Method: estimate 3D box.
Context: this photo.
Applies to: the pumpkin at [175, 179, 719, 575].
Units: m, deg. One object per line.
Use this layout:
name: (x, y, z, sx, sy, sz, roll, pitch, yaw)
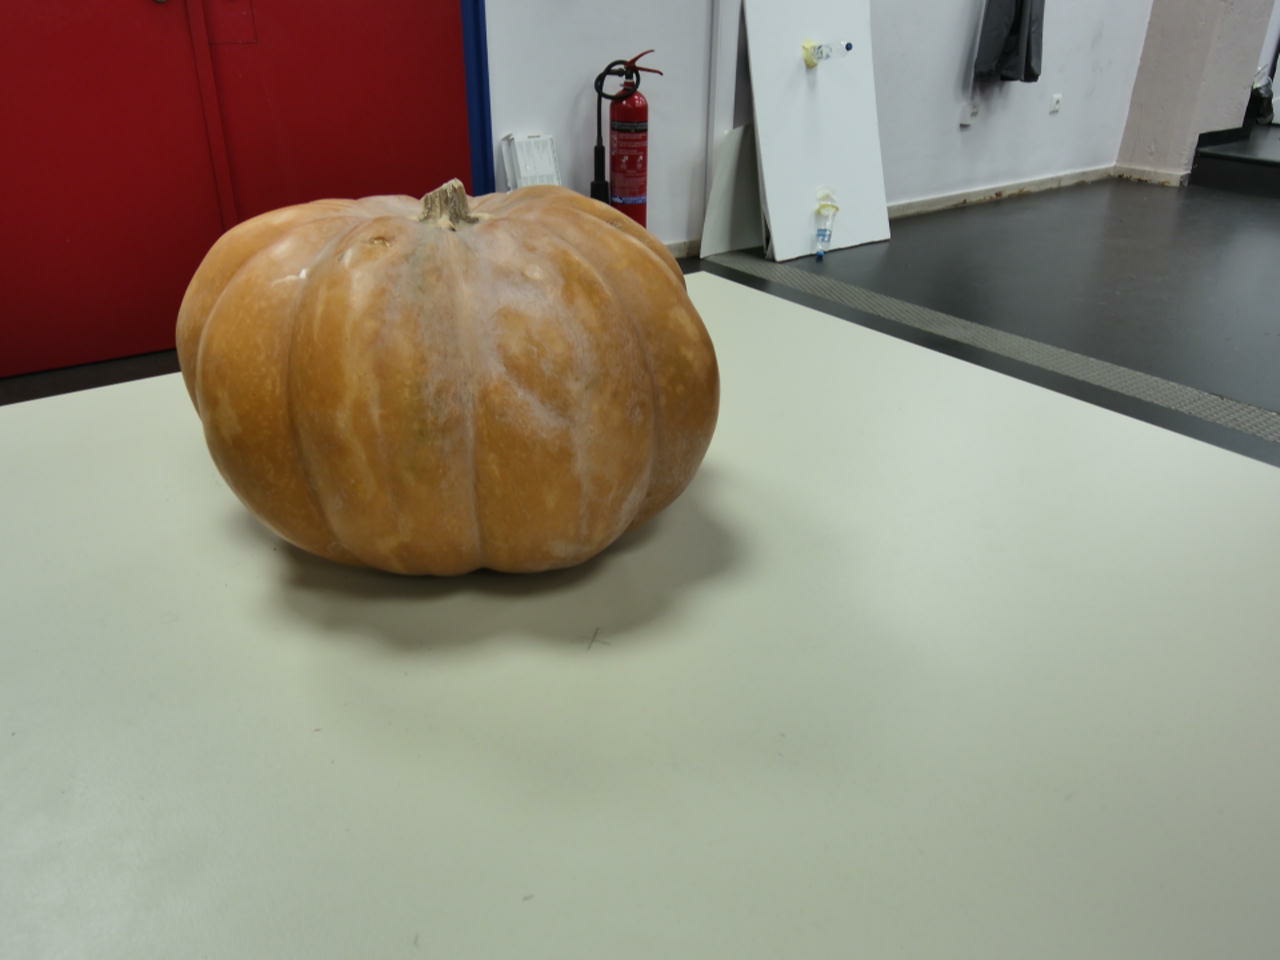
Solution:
pumpkin: (-0.091, -0.058, 0.510, 0.277, 0.181, 0.277, 0, 25, 0)
